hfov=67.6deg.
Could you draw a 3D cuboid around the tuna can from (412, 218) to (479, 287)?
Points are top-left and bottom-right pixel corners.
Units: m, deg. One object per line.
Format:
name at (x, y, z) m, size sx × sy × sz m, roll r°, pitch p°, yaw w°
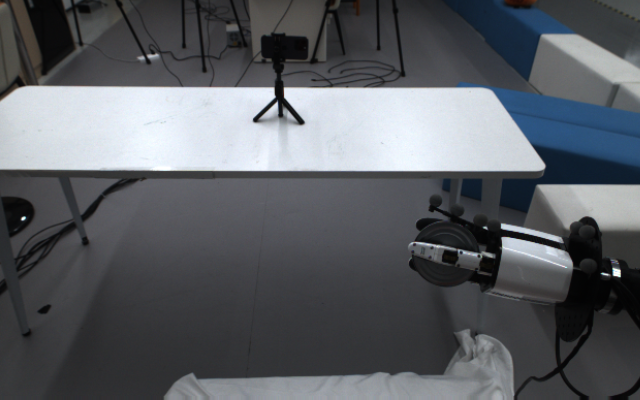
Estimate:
tuna can at (0.169, 0.067, 0.640) m, size 0.085 × 0.085 × 0.034 m, roll 13°, pitch 2°, yaw 16°
